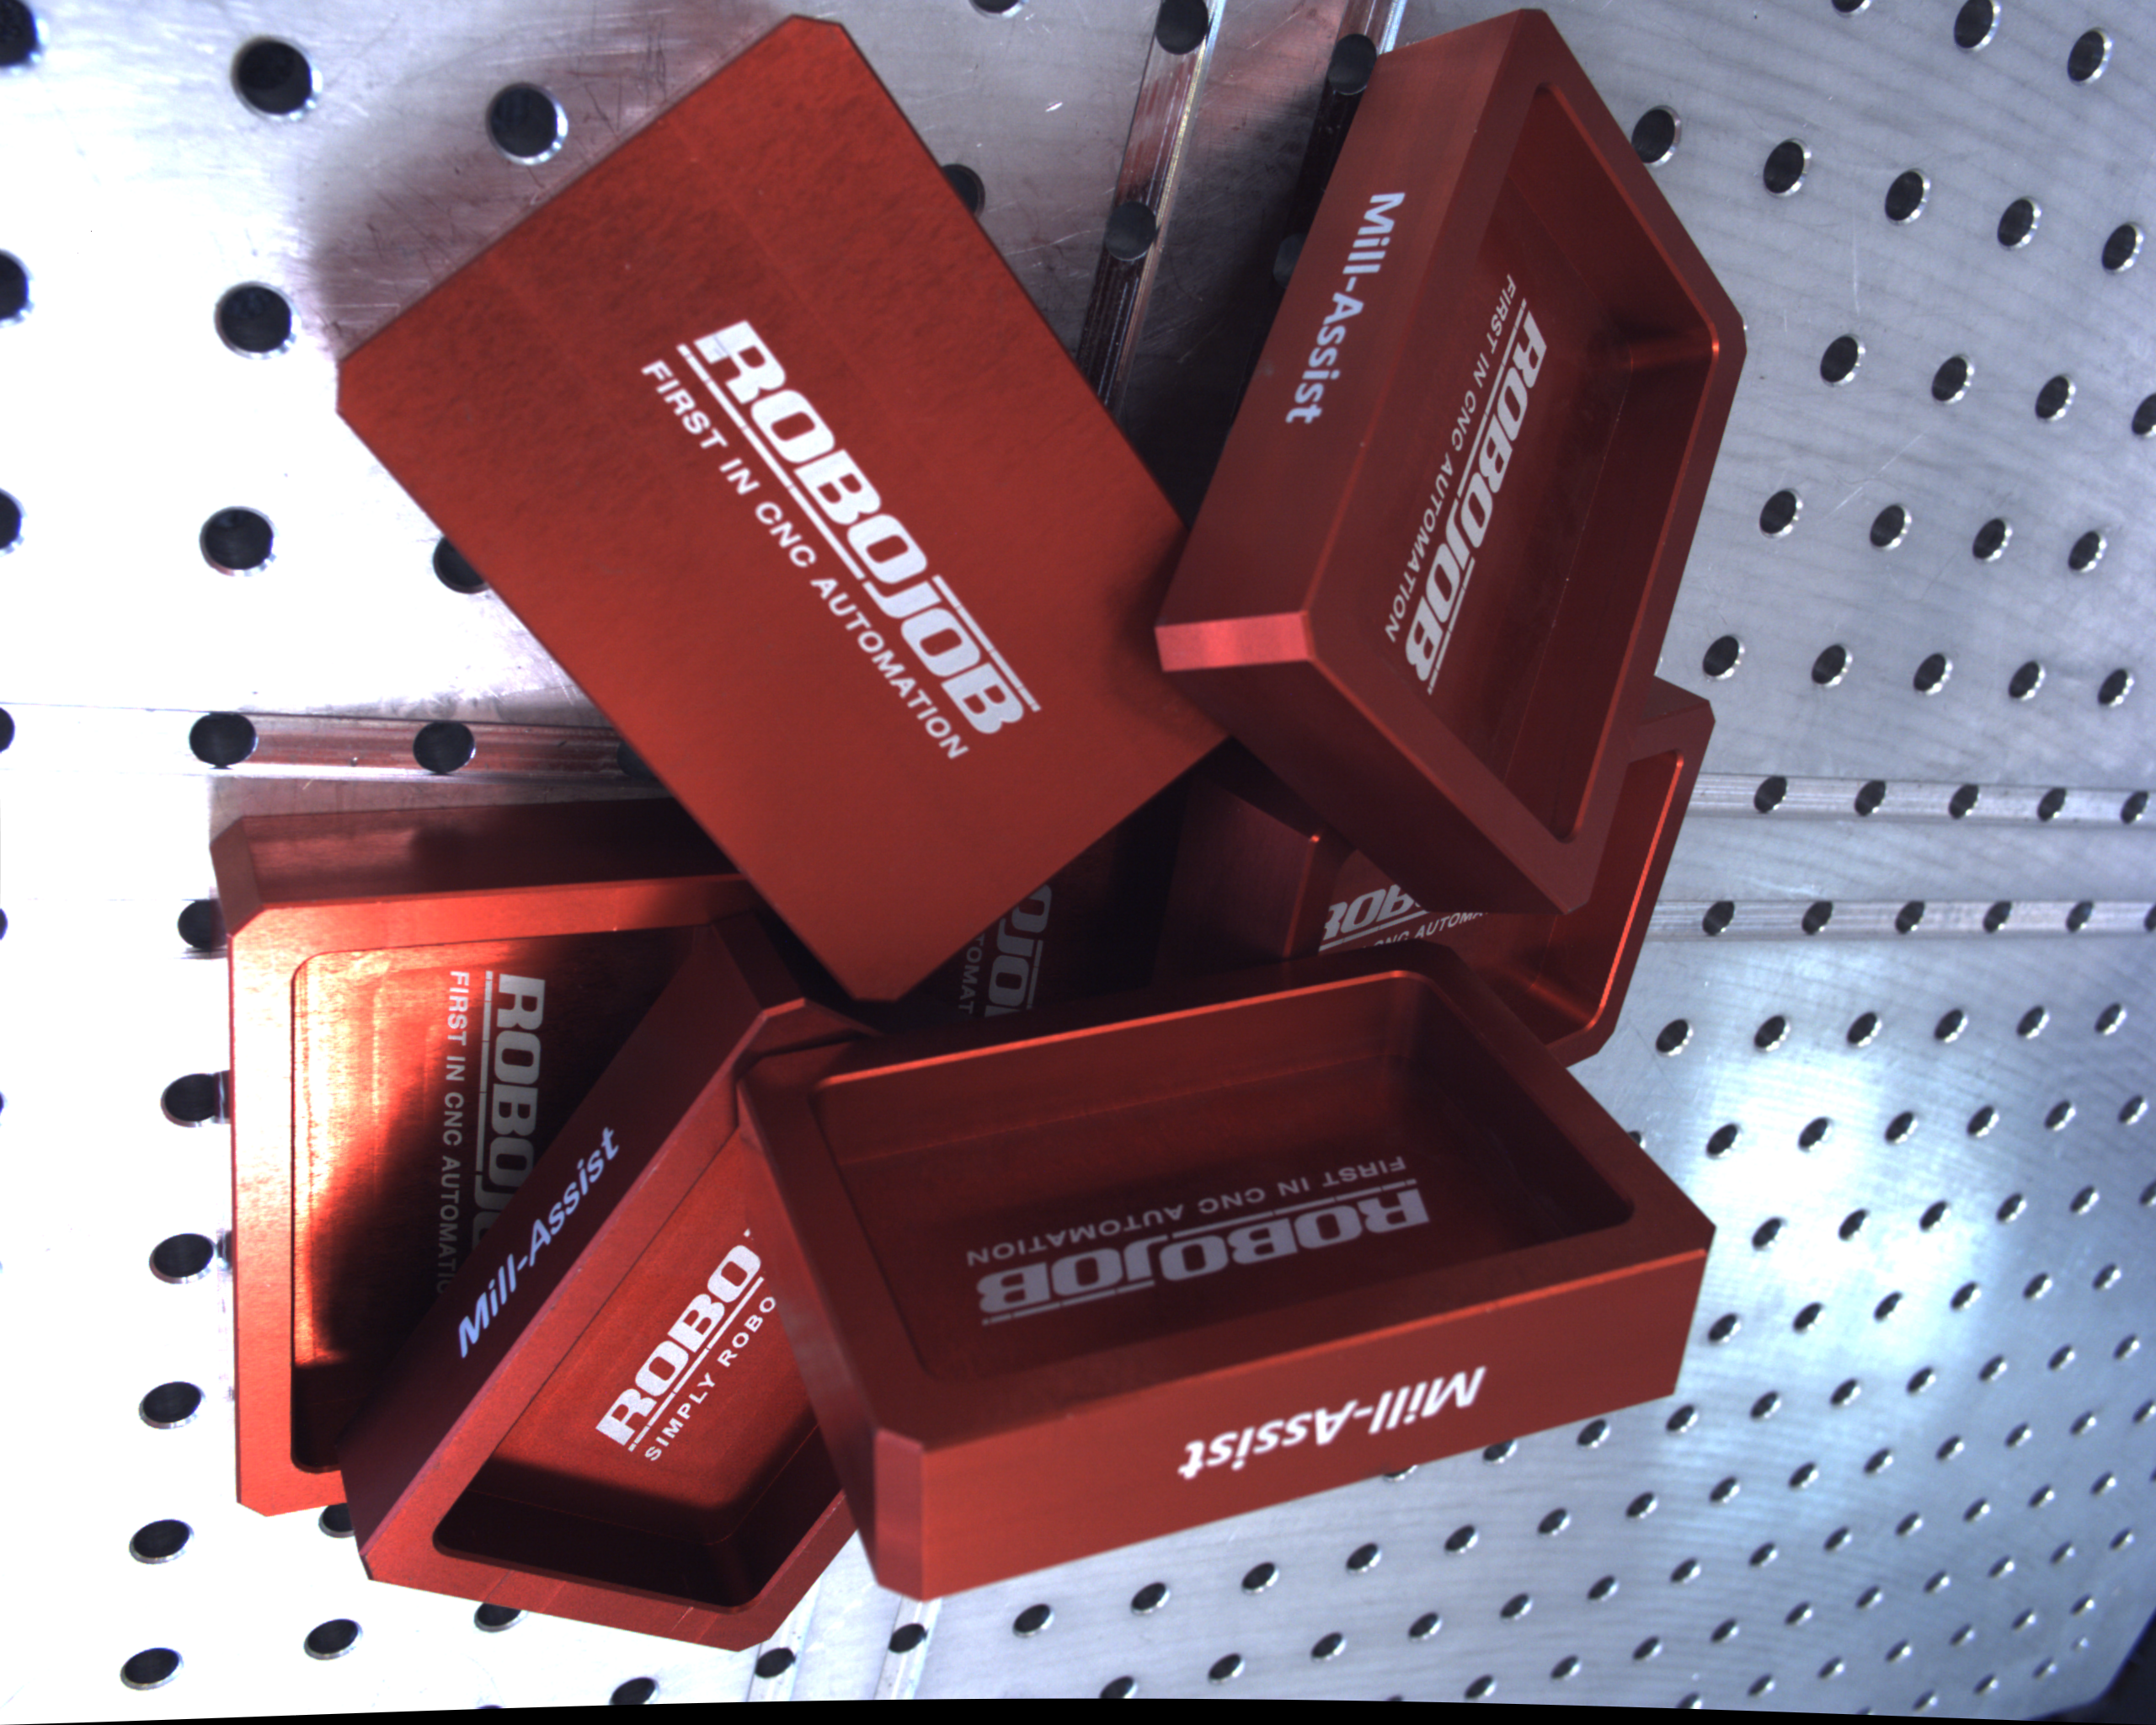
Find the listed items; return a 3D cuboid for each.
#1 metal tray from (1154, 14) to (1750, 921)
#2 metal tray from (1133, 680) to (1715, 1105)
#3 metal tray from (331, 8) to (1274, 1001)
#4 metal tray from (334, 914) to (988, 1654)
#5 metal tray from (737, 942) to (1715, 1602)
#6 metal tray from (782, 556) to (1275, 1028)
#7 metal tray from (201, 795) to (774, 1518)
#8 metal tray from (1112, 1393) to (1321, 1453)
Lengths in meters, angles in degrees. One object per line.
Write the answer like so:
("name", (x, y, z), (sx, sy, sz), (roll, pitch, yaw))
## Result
("metal tray", (0.070, -0.066, 0.361), (0.090, 0.030, 0.130), (38, 64, -38))
("metal tray", (0.072, 0.011, 0.430), (0.131, 0.030, 0.089), (-16, 127, -40))
("metal tray", (-0.039, -0.053, 0.331), (0.090, 0.030, 0.130), (-39, 114, -2))
("metal tray", (-0.062, 0.082, 0.385), (0.090, 0.030, 0.130), (30, 102, -38))
("metal tray", (0.020, 0.057, 0.331), (0.131, 0.090, 0.030), (-9, 122, -19))
("metal tray", (-0.011, 0.007, 0.405), (0.091, 0.030, 0.129), (-6, 119, -28))
("metal tray", (-0.108, 0.053, 0.382), (0.091, 0.030, 0.129), (-5, 120, -27))
("metal tray", (0.040, 0.098, 0.447), (0.090, 0.030, 0.130), (-26, 161, -12))
